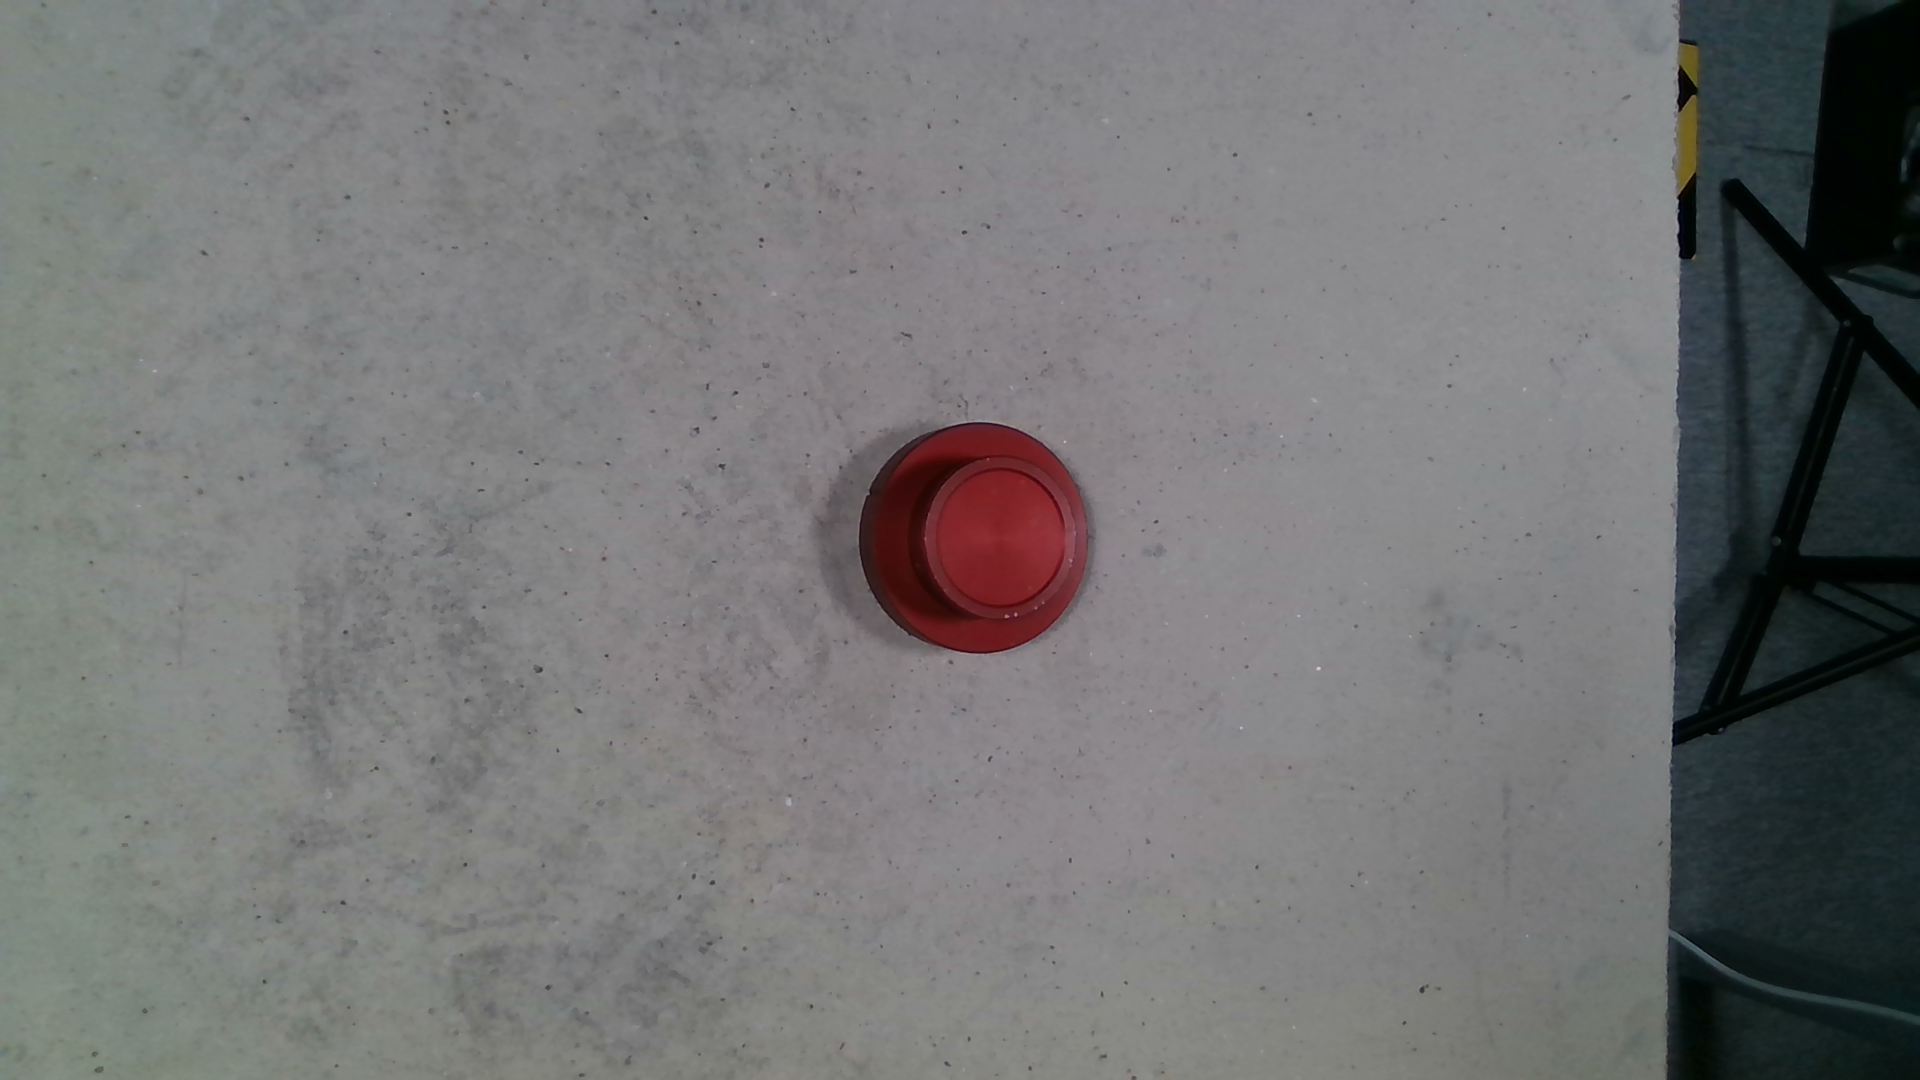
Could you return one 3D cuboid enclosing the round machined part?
[{"bbox_3d":[0.010,-0.001,0.580,0.098,0.042,0.098,0,90,-20],"label":"round machined part"}]
